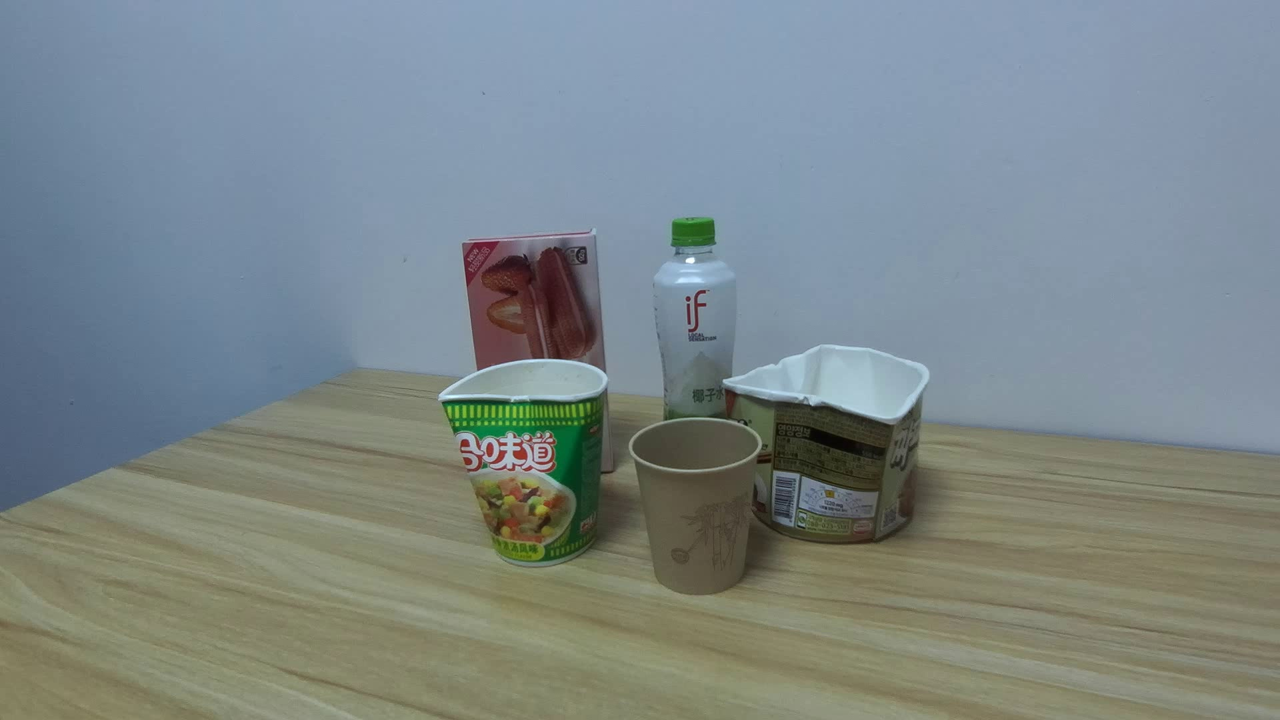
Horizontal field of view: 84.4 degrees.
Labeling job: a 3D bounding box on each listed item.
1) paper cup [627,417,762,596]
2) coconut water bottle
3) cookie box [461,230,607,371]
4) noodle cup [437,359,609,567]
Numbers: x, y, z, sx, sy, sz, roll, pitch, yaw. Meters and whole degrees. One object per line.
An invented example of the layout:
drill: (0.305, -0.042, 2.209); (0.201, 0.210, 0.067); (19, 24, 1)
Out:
paper cup: (0.032, 0.085, 0.406); (0.075, 0.082, 0.075); (-3, 18, 1)
coconut water bottle: (0.043, -0.009, 0.528); (0.063, 0.188, 0.063); (-2, 15, 1)
cookie box: (-0.073, -0.002, 0.541); (0.096, 0.184, 0.048); (-4, 12, 1)
noodle cup: (-0.061, 0.064, 0.449); (0.093, 0.109, 0.087); (7, 21, 30)
